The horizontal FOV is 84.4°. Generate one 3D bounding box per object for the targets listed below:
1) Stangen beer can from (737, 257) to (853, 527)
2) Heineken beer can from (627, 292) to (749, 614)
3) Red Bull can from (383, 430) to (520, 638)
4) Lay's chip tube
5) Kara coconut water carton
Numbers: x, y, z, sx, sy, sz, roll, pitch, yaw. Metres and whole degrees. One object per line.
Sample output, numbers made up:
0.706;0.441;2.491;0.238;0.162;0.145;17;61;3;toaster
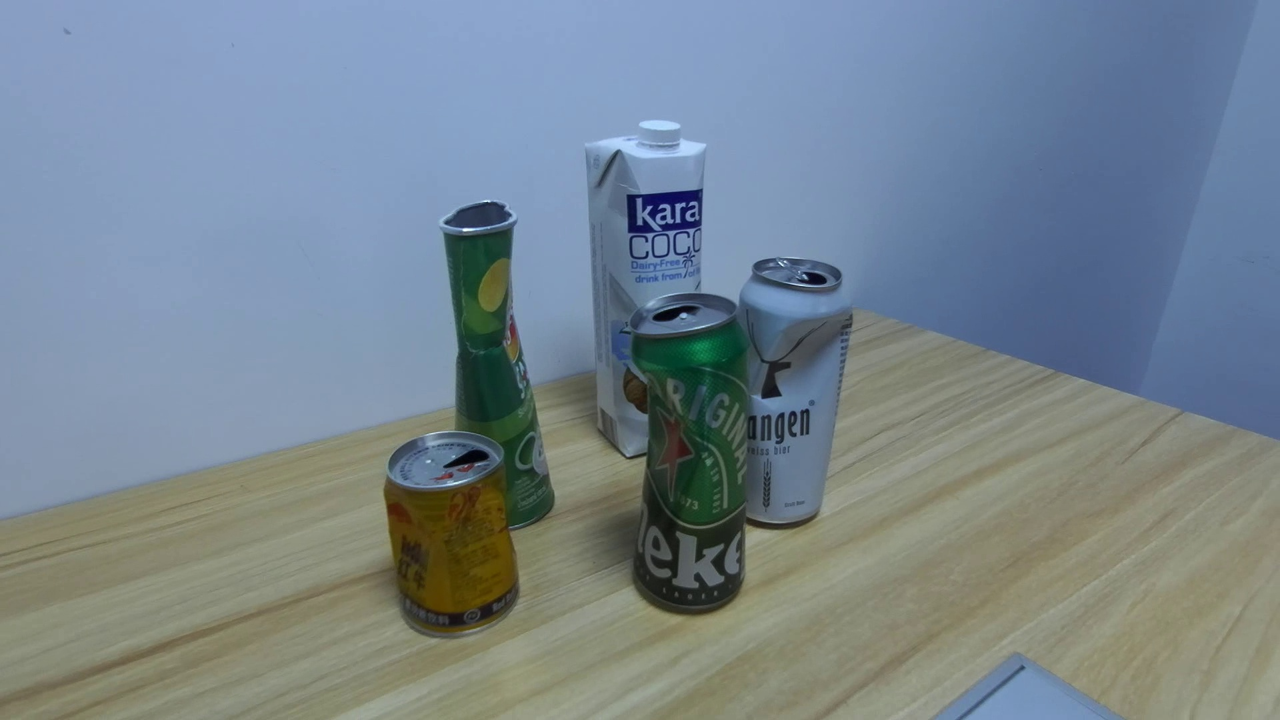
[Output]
0.093;0.022;0.452;0.070;0.173;0.070;8;24;19;Stangen beer can
0.026;0.053;0.384;0.069;0.168;0.068;9;24;29;Heineken beer can
-0.100;0.092;0.383;0.072;0.092;0.072;0;22;0;Red Bull can
-0.095;0.007;0.456;0.069;0.199;0.074;-21;29;-39;Lay's chip tube
0.005;-0.053;0.535;0.077;0.245;0.075;-11;24;-23;Kara coconut water carton
